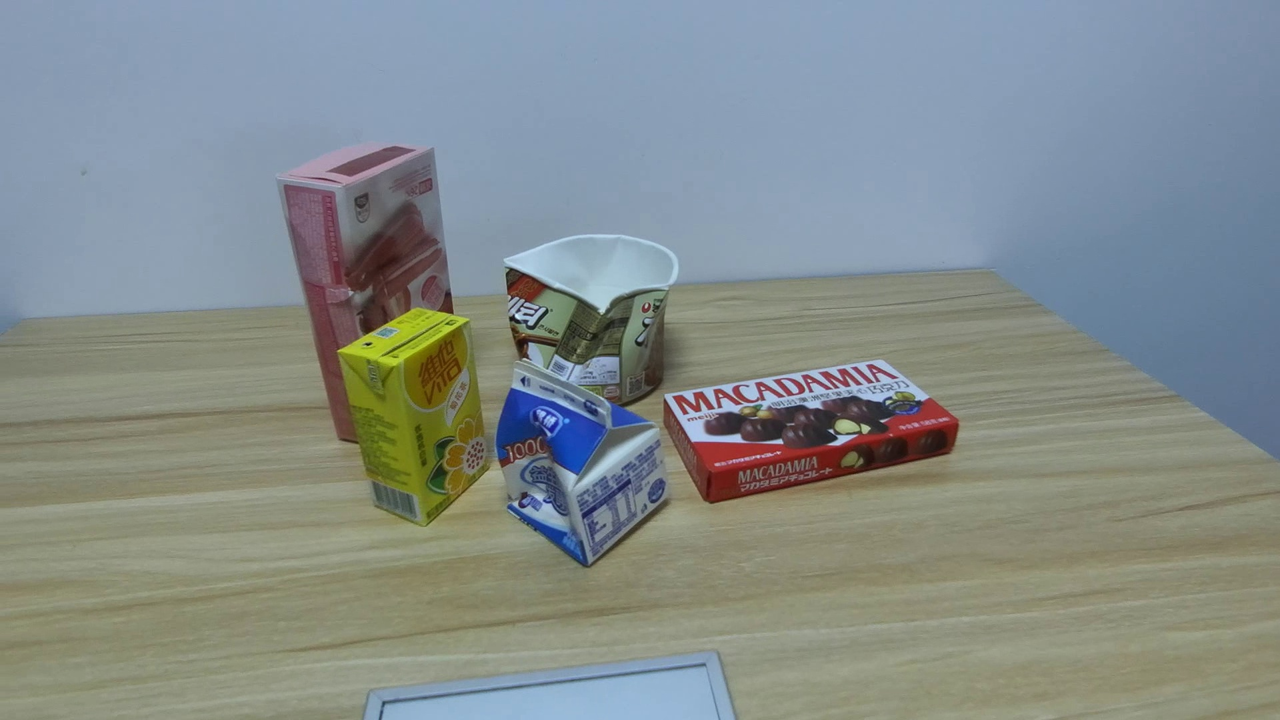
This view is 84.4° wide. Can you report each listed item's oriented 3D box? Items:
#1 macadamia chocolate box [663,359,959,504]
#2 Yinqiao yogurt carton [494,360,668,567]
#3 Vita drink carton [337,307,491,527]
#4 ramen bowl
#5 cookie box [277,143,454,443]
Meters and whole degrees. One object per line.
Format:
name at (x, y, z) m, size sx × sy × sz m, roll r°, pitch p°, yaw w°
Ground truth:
macadamia chocolate box at (0.113, 0.043, 0.484) m, size 0.178 × 0.027 × 0.095 m, roll -8°, pitch 29°, yaw -14°
Yinqiao yogurt carton at (-0.036, 0.049, 0.404) m, size 0.077 × 0.094 × 0.071 m, roll 22°, pitch 41°, yaw 37°
Vita drink carton at (-0.131, 0.032, 0.422) m, size 0.043 × 0.109 × 0.067 m, roll 12°, pitch 31°, yaw 23°
ramen bowl at (-0.029, -0.033, 0.552) m, size 0.137 × 0.098 × 0.137 m, roll 2°, pitch 29°, yaw -1°
cookie box at (-0.172, -0.041, 0.471) m, size 0.049 × 0.187 × 0.105 m, roll 7°, pitch 29°, yaw 13°
